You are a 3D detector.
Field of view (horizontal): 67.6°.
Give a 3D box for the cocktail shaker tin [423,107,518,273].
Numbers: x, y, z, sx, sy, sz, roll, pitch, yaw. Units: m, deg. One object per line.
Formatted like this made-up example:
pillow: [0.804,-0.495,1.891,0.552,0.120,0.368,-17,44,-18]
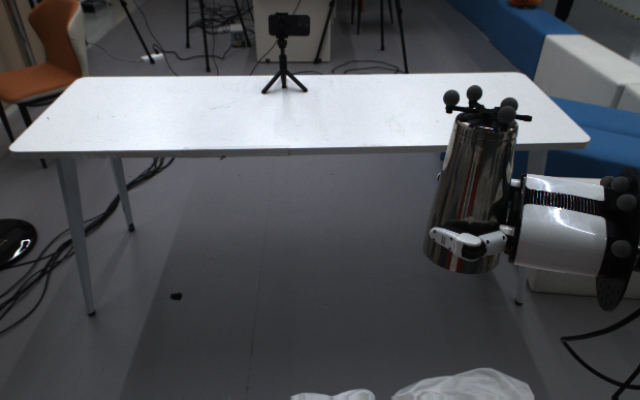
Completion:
cocktail shaker tin: [0.179,-0.011,0.562,0.093,0.170,0.093,1,28,-1]
